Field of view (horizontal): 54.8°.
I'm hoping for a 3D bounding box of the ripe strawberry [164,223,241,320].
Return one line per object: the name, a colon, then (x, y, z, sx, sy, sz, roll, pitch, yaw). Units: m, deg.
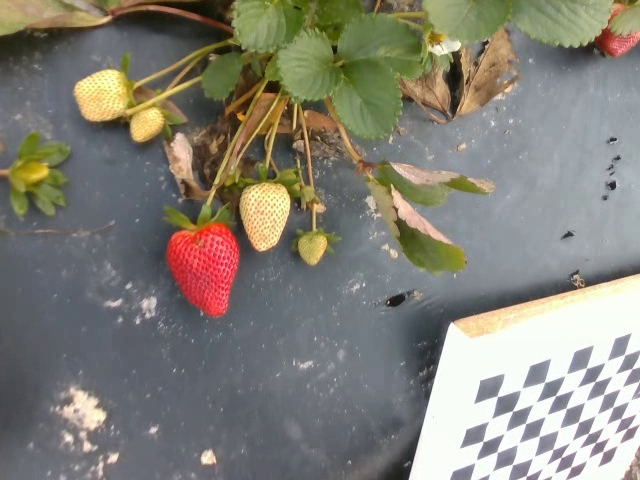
ripe strawberry: (-0.064, 0.016, 0.352, 0.050, 0.059, 0.034, -17, -12, -17)
